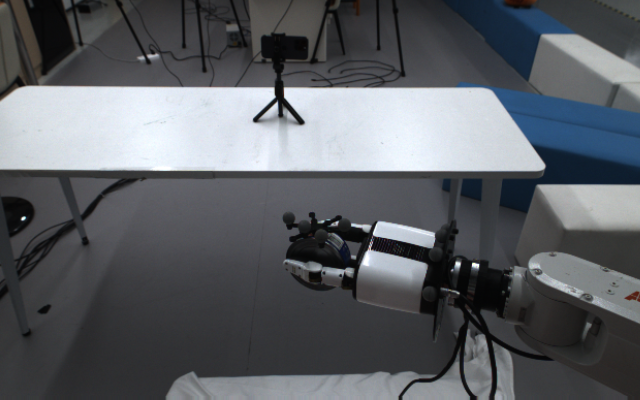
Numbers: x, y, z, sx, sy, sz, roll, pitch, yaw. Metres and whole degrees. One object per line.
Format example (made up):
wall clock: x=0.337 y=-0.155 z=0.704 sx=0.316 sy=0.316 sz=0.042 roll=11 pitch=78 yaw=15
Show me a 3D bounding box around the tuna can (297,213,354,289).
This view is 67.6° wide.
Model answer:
tuna can: x=0.000 y=0.080 z=0.669 sx=0.085 sy=0.085 sz=0.034 roll=14 pitch=29 yaw=16
